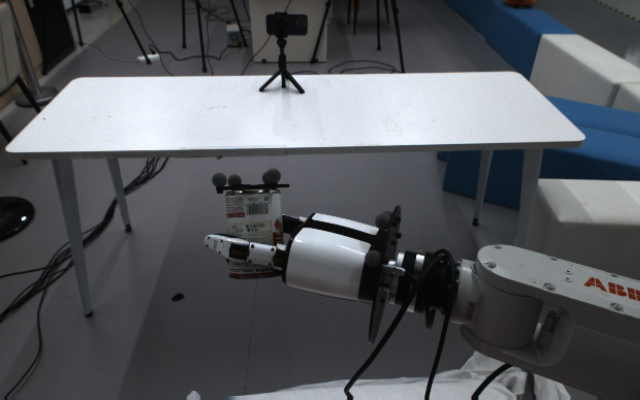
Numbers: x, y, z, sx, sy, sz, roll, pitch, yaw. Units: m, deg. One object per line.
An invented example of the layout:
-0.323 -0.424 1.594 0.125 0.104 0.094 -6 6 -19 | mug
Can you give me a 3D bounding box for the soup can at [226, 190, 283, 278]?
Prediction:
-0.076 0.041 0.579 0.067 0.101 0.067 -3 -1 0 | soup can
